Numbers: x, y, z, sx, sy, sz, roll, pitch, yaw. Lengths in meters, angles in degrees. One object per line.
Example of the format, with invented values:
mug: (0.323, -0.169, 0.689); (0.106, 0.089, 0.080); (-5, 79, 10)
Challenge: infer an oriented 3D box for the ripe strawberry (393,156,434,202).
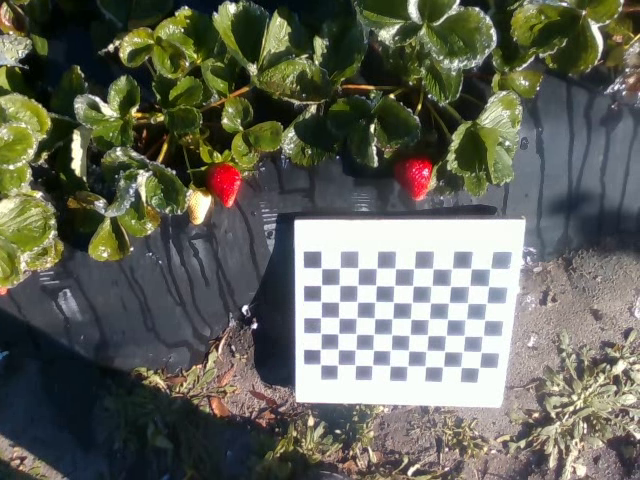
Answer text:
ripe strawberry: (0.113, -0.071, 0.750); (0.048, 0.061, 0.044); (-6, -12, 4)

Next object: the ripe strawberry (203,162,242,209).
ripe strawberry: (-0.114, -0.062, 0.767); (0.042, 0.061, 0.046); (-13, -22, 7)
